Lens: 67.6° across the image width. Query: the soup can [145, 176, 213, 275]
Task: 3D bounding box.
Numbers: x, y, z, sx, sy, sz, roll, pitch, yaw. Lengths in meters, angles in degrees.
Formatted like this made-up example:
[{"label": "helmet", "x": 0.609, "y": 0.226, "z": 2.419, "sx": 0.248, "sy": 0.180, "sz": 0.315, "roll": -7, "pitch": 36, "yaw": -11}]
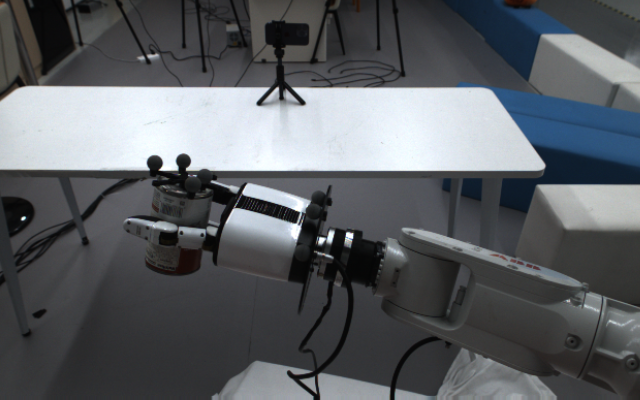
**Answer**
[{"label": "soup can", "x": -0.165, "y": 0.030, "z": 0.571, "sx": 0.067, "sy": 0.101, "sz": 0.067, "roll": 13, "pitch": 18, "yaw": -4}]
